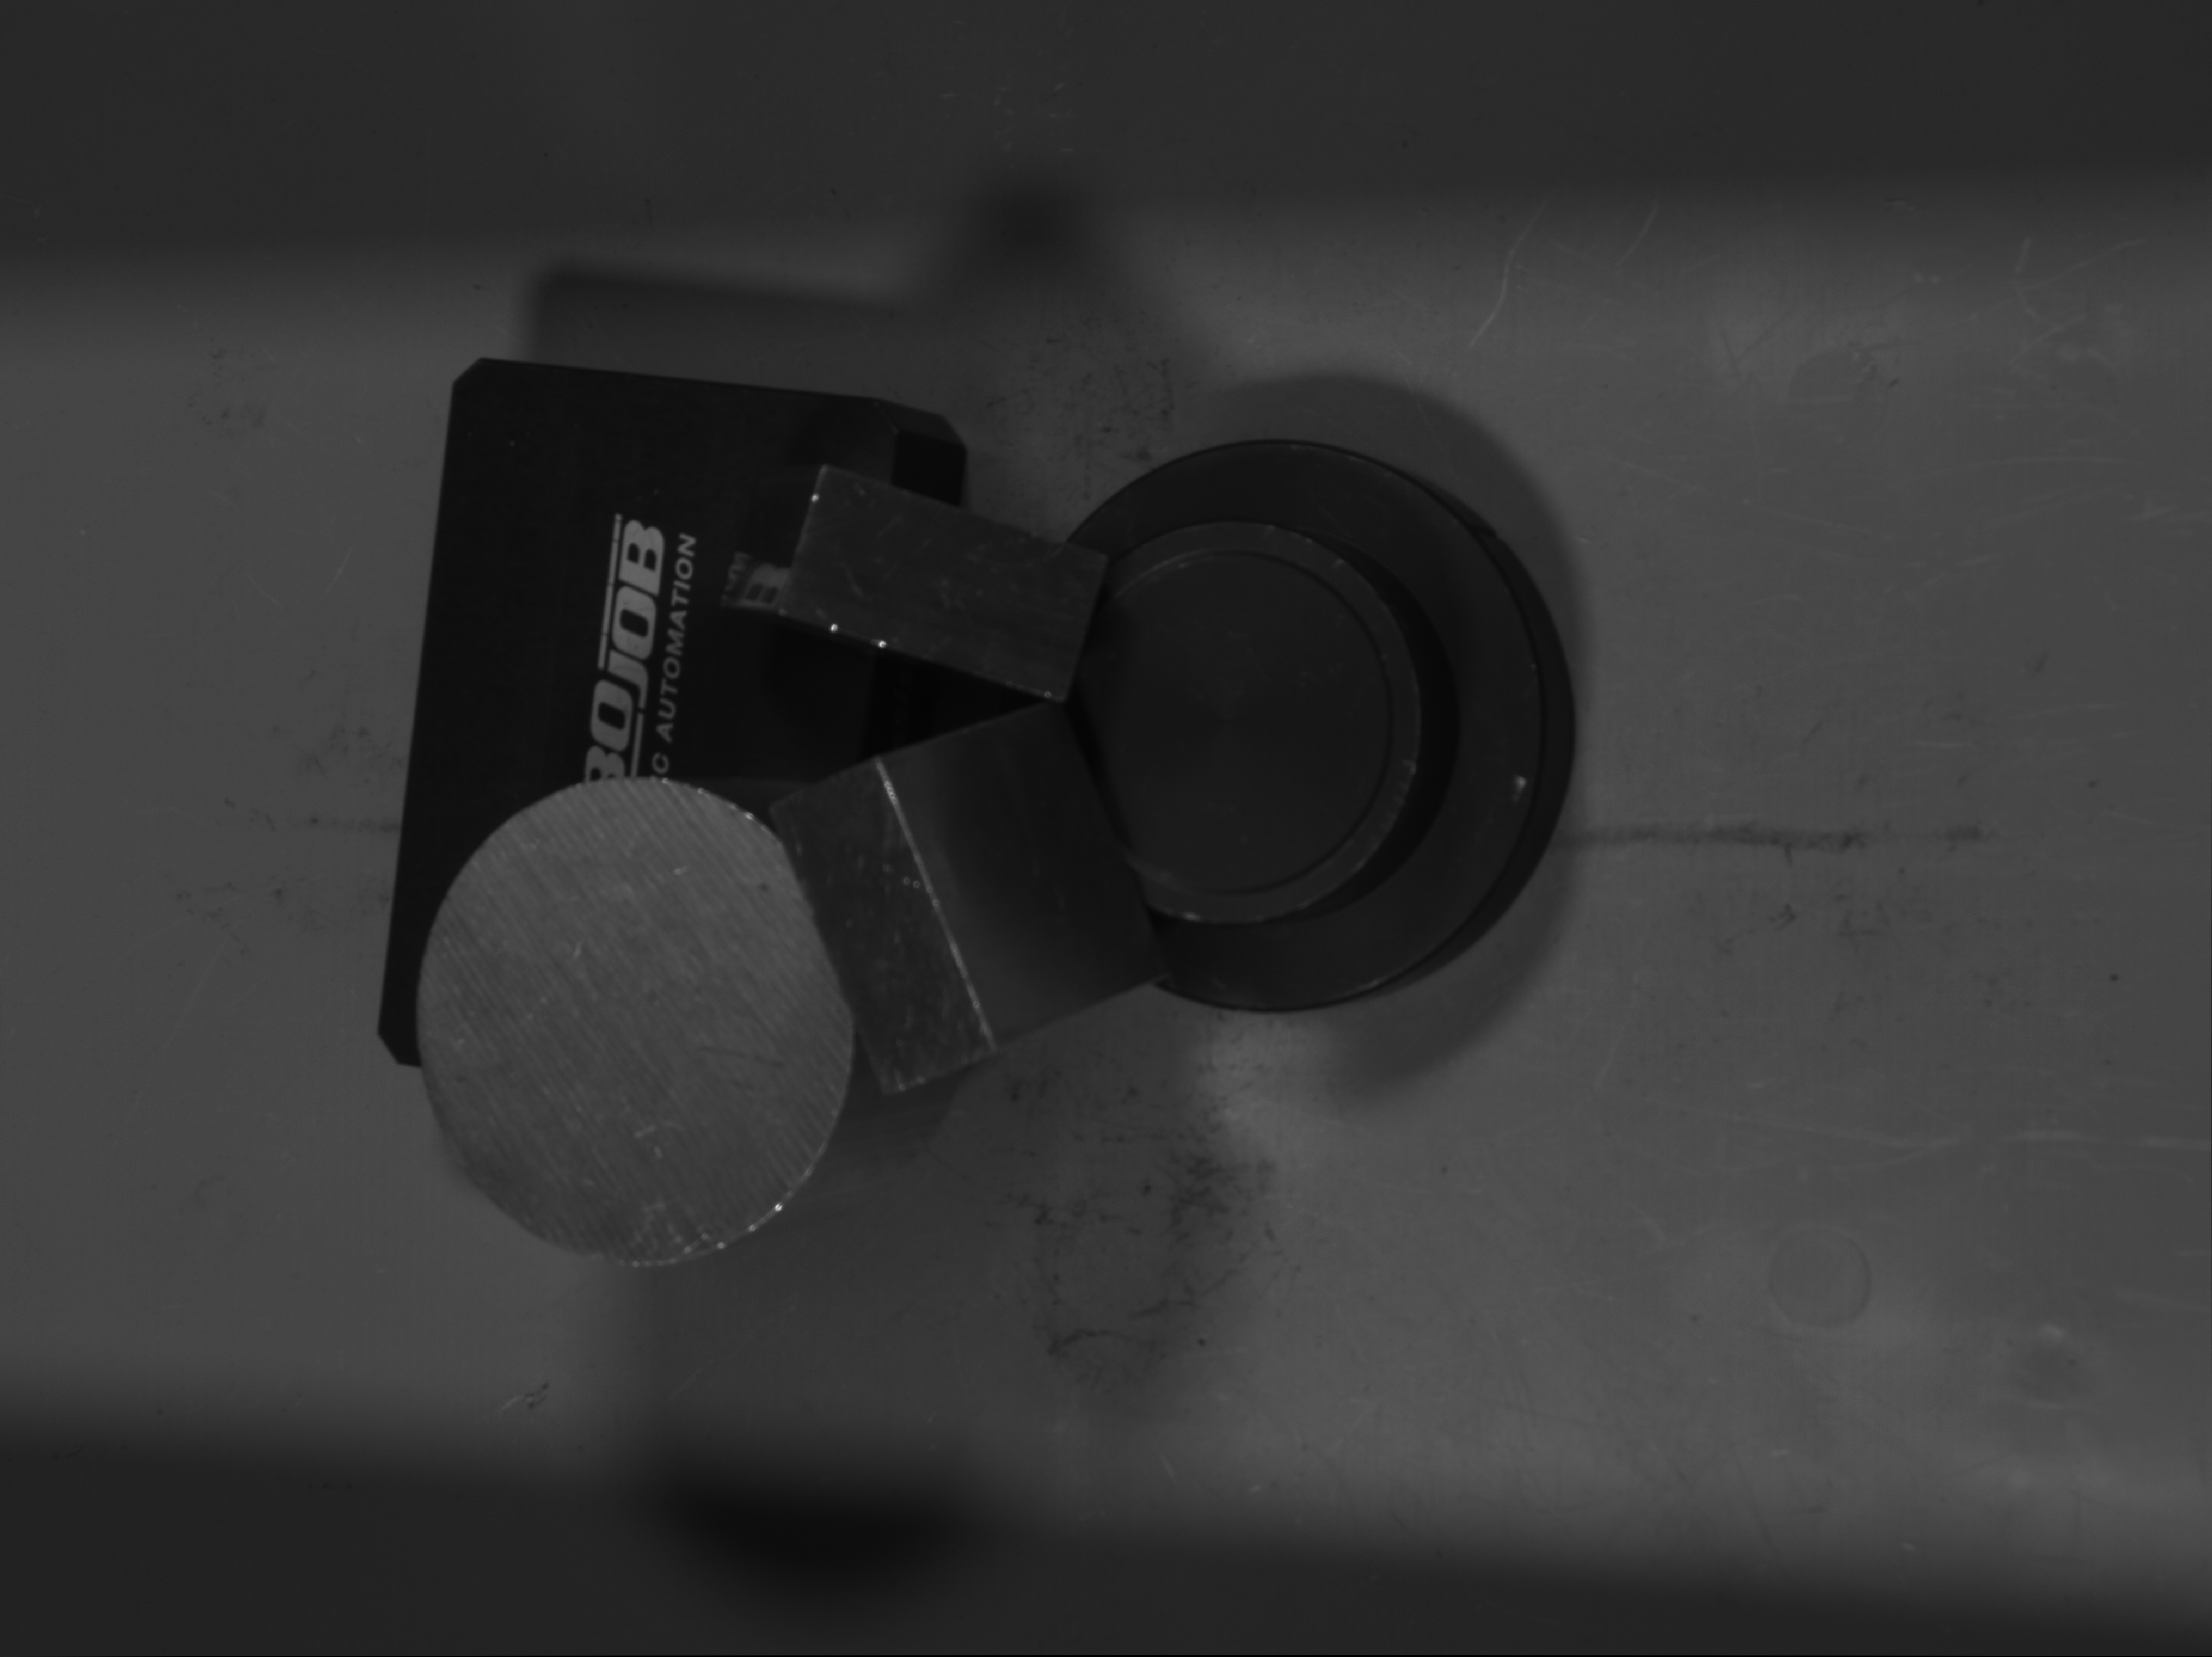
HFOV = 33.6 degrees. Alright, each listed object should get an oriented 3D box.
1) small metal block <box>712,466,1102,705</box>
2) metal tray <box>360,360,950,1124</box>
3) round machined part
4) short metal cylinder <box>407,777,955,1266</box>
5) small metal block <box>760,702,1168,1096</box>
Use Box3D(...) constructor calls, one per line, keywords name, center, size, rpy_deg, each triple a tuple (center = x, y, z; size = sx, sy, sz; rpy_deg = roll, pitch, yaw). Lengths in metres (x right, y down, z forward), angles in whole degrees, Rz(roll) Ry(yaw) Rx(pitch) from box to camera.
Box3D(name="small metal block", center=(-0.034, -0.041, 0.615), size=(0.050, 0.050, 0.025), rpy_deg=(17, 90, -18))
Box3D(name="metal tray", center=(-0.083, -0.015, 0.668), size=(0.090, 0.030, 0.130), rpy_deg=(8, 93, 19))
Box3D(name="round machined part", center=(0.026, -0.017, 0.625), size=(0.098, 0.042, 0.098), rpy_deg=(0, 90, 20))
Box3D(name="short metal cylinder", center=(-0.071, 0.032, 0.623), size=(0.080, 0.050, 0.080), rpy_deg=(0, 90, 20))
Box3D(name="small metal block", center=(-0.022, 0.010, 0.596), size=(0.025, 0.050, 0.050), rpy_deg=(-23, 88, 37))
